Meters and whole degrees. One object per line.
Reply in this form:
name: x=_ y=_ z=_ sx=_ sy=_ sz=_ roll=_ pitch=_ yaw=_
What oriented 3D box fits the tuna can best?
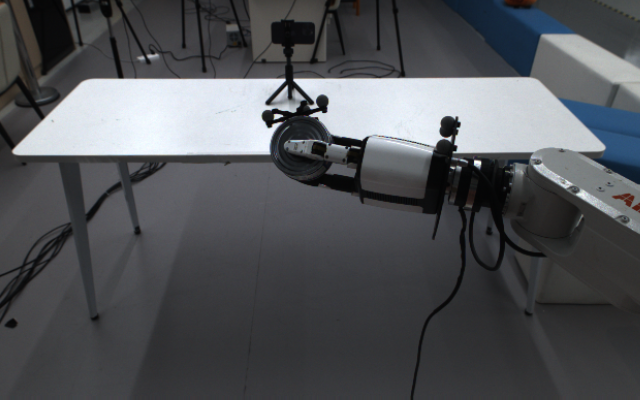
tuna can: x=-0.020 y=-0.066 z=0.656 sx=0.085 sy=0.085 sz=0.034 roll=12 pitch=-6 yaw=14
